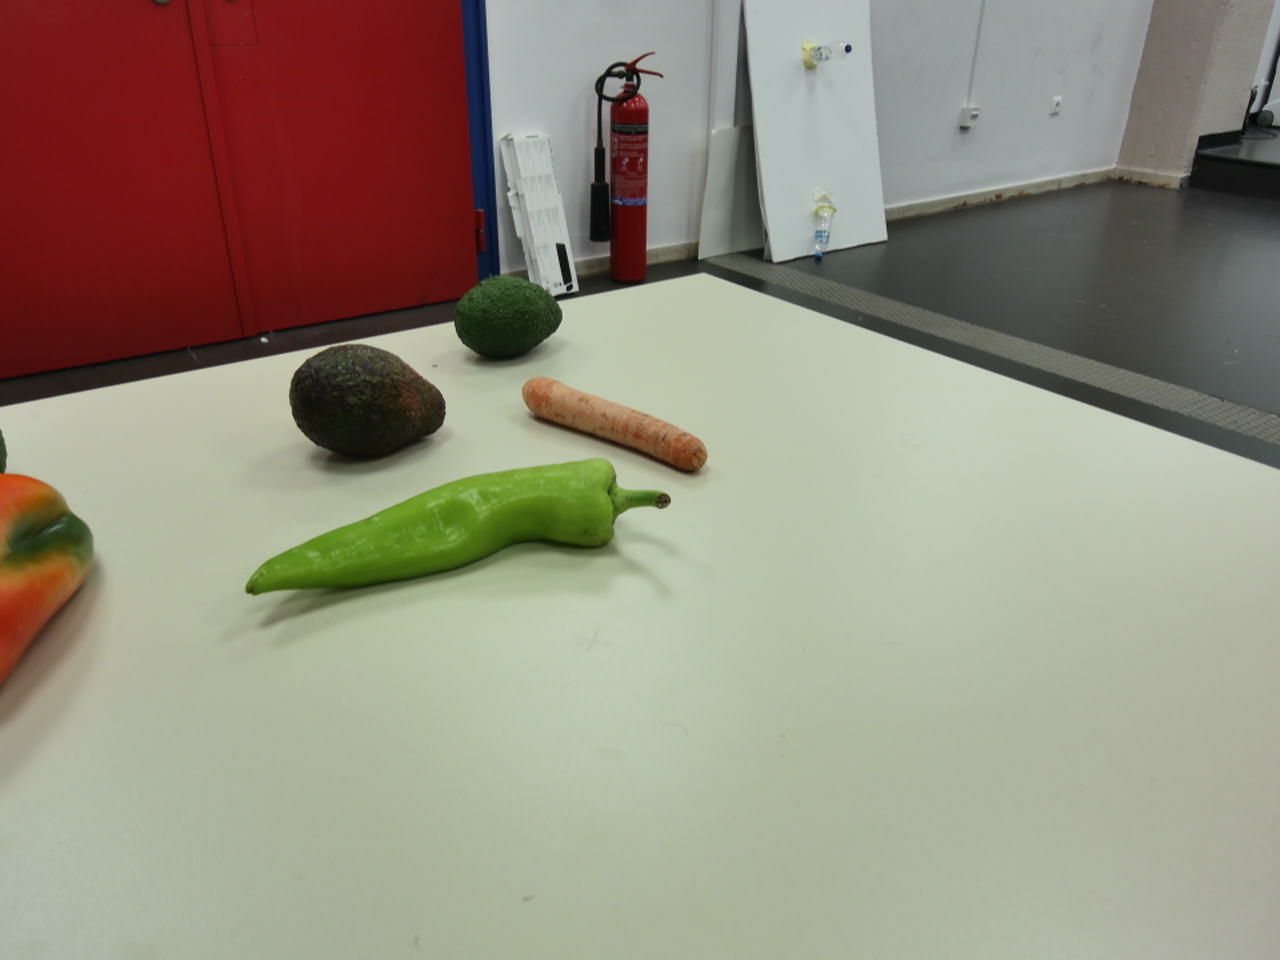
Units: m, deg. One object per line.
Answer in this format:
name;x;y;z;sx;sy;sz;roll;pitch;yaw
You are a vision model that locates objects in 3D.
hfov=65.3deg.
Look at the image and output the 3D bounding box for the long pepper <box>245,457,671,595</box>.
long pepper;-0.090;0.023;0.501;0.204;0.045;0.065;-9;27;-19
